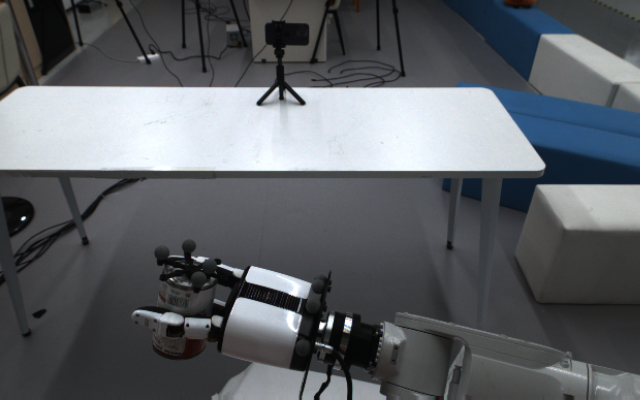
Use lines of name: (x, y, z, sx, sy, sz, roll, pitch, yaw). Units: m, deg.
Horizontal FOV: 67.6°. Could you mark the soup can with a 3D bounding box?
soup can: (-0.165, 0.136, 0.595, 0.067, 0.101, 0.067, 13, 18, -4)
